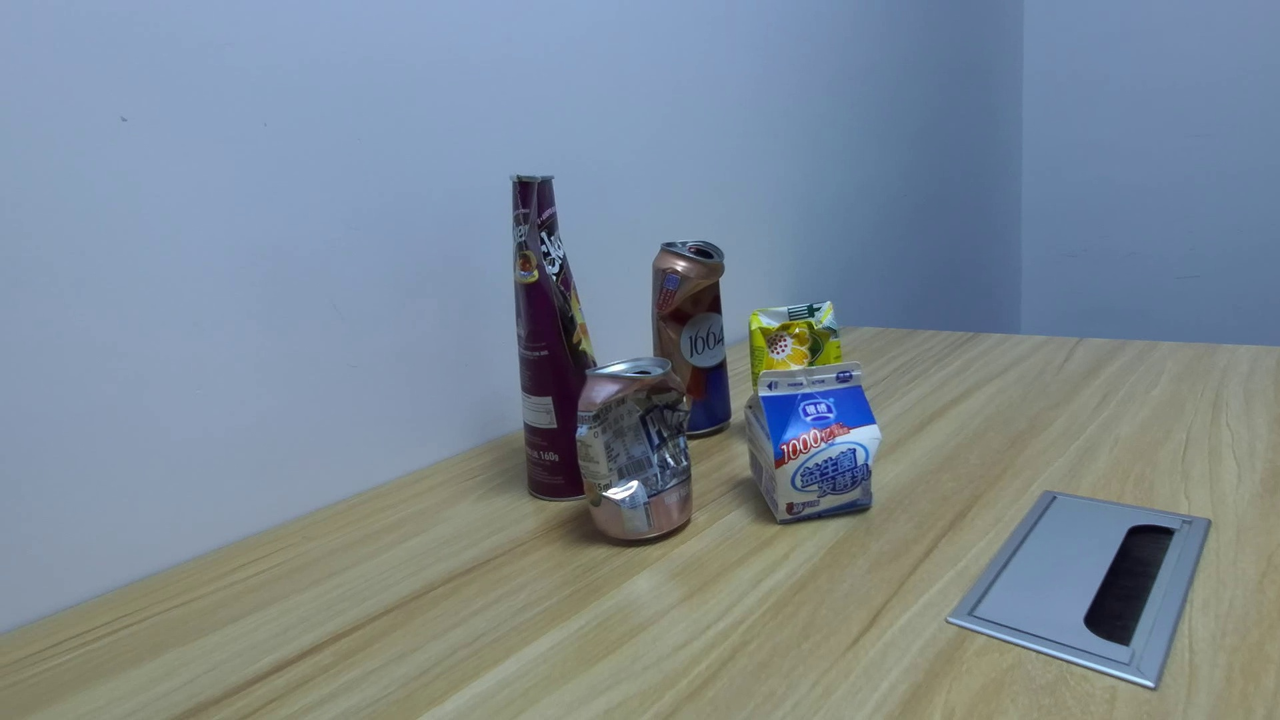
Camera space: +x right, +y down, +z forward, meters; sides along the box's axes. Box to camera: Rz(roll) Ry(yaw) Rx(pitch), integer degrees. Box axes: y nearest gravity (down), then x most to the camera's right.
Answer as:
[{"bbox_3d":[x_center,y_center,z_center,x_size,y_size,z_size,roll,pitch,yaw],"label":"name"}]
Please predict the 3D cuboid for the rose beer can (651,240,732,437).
[{"bbox_3d":[0.044,-0.018,0.613,0.070,0.168,0.069,-5,17,-6],"label":"rose beer can"}]

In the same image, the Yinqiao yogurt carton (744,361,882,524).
[{"bbox_3d":[0.113,0.047,0.458,0.074,0.097,0.080,-8,21,-6],"label":"Yinqiao yogurt carton"}]

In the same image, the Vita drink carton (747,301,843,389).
[{"bbox_3d":[0.124,0.014,0.559,0.071,0.109,0.046,-5,10,14],"label":"Vita drink carton"}]

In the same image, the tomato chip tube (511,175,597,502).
[{"bbox_3d":[-0.063,-0.017,0.524,0.090,0.235,0.077,-16,16,-43],"label":"tomato chip tube"}]

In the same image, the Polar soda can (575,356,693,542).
[{"bbox_3d":[-0.001,0.055,0.453,0.070,0.114,0.074,-1,17,3],"label":"Polar soda can"}]
